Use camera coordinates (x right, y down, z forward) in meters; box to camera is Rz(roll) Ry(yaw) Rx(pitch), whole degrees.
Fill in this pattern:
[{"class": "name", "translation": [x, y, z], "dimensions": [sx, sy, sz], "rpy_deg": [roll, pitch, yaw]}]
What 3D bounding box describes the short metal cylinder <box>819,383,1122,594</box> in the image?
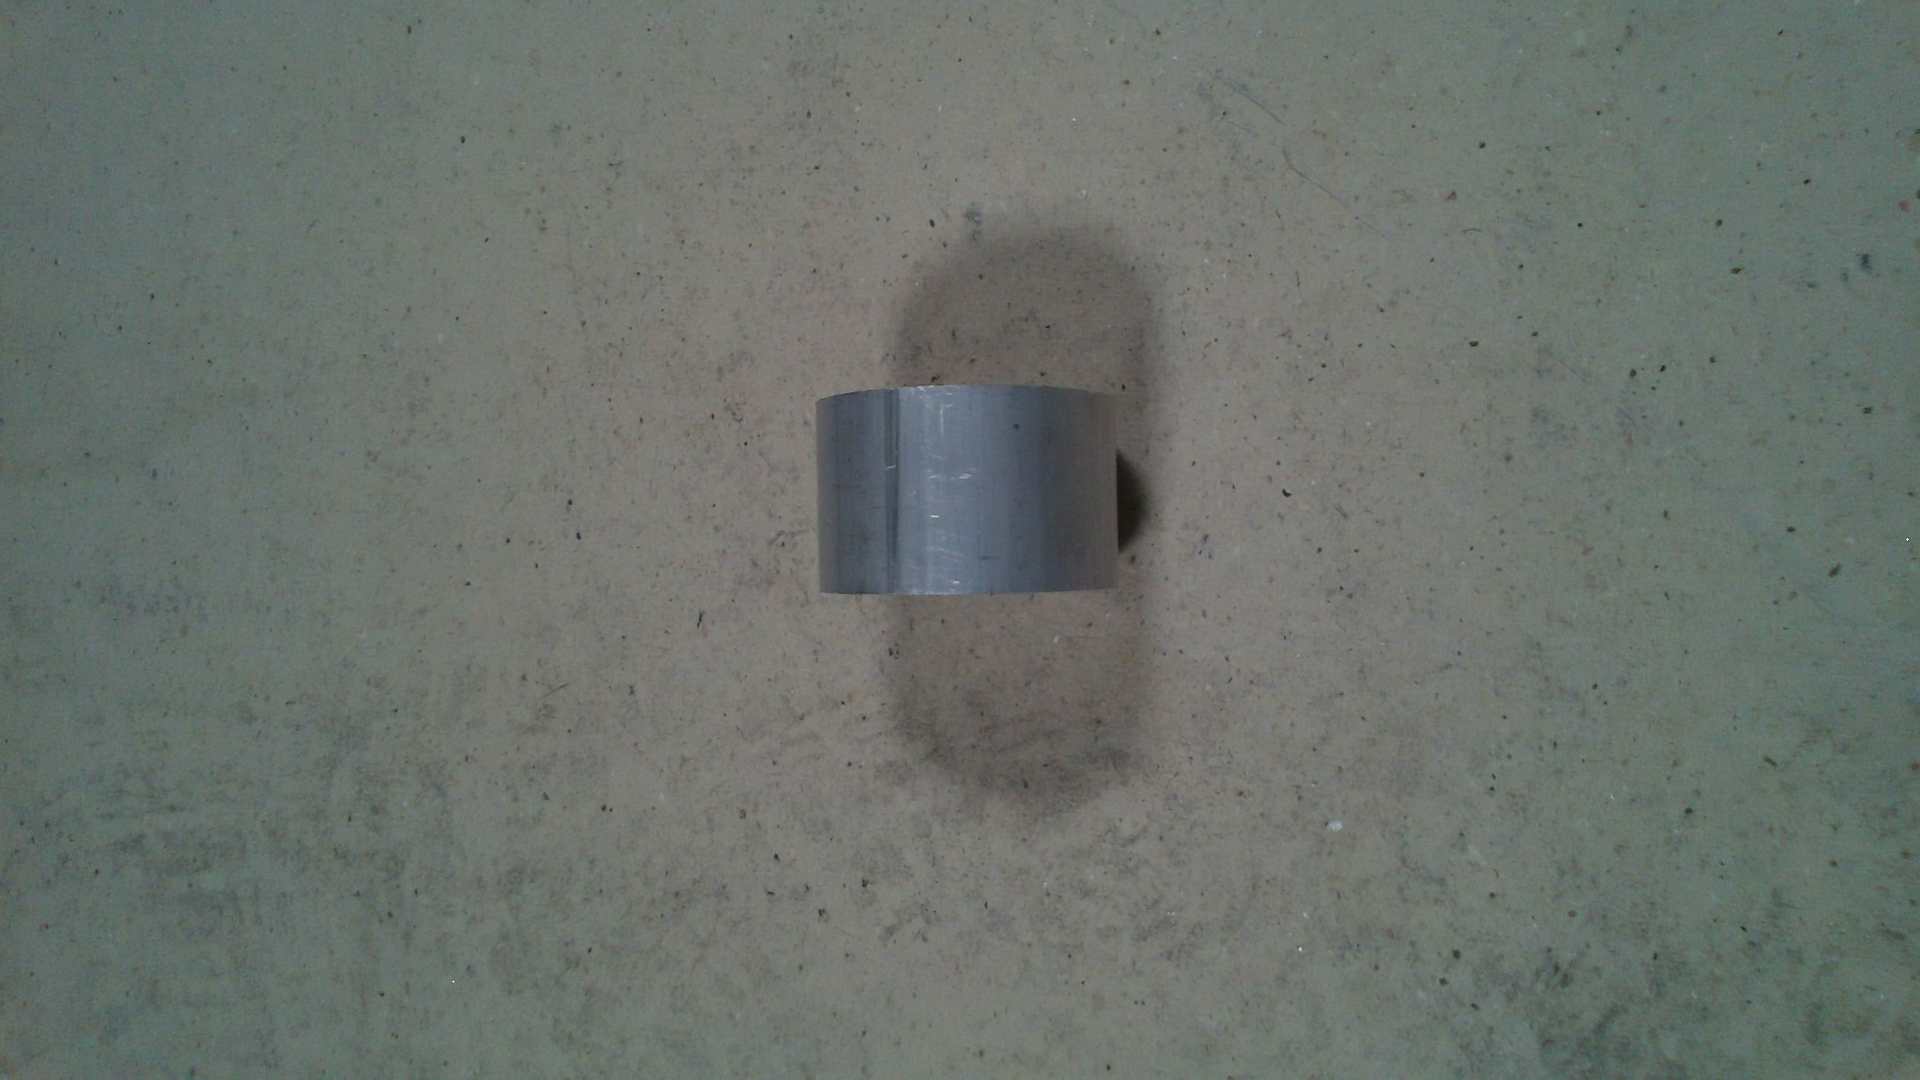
[{"class": "short metal cylinder", "translation": [0.002, -0.012, 0.366], "dimensions": [0.080, 0.080, 0.050], "rpy_deg": [-1, 90, 20]}]
